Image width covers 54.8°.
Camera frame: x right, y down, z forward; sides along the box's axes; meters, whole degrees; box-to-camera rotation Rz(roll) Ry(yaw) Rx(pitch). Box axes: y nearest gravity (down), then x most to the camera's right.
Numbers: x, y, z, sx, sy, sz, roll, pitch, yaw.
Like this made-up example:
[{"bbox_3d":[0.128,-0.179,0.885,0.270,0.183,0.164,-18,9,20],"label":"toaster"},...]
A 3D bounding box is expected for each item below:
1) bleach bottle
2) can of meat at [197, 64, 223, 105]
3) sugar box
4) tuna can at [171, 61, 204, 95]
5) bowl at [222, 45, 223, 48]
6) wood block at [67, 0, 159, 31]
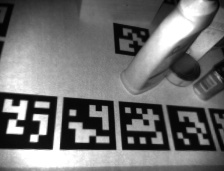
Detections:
[{"bbox_3d":[0.107,-0.051,0.387,0.103,0.250,0.067,-26,70,-27],"label":"bleach bottle"},{"bbox_3d":[0.263,-0.008,0.517,0.103,0.083,0.057,-30,71,-31],"label":"can of meat"},{"bbox_3d":[0.204,-0.110,0.491,0.093,0.176,0.045,17,60,-3],"label":"sugar box"},{"bbox_3d":[0.173,-0.022,0.516,0.086,0.033,0.085,7,63,-14],"label":"tuna can"},{"bbox_3d":[0.254,-0.152,0.606,0.162,0.055,0.161,6,60,-10],"label":"bowl"},{"bbox_3d":[0.004,-0.200,0.533,0.208,0.089,0.090,-8,69,-23],"label":"wood block"}]
